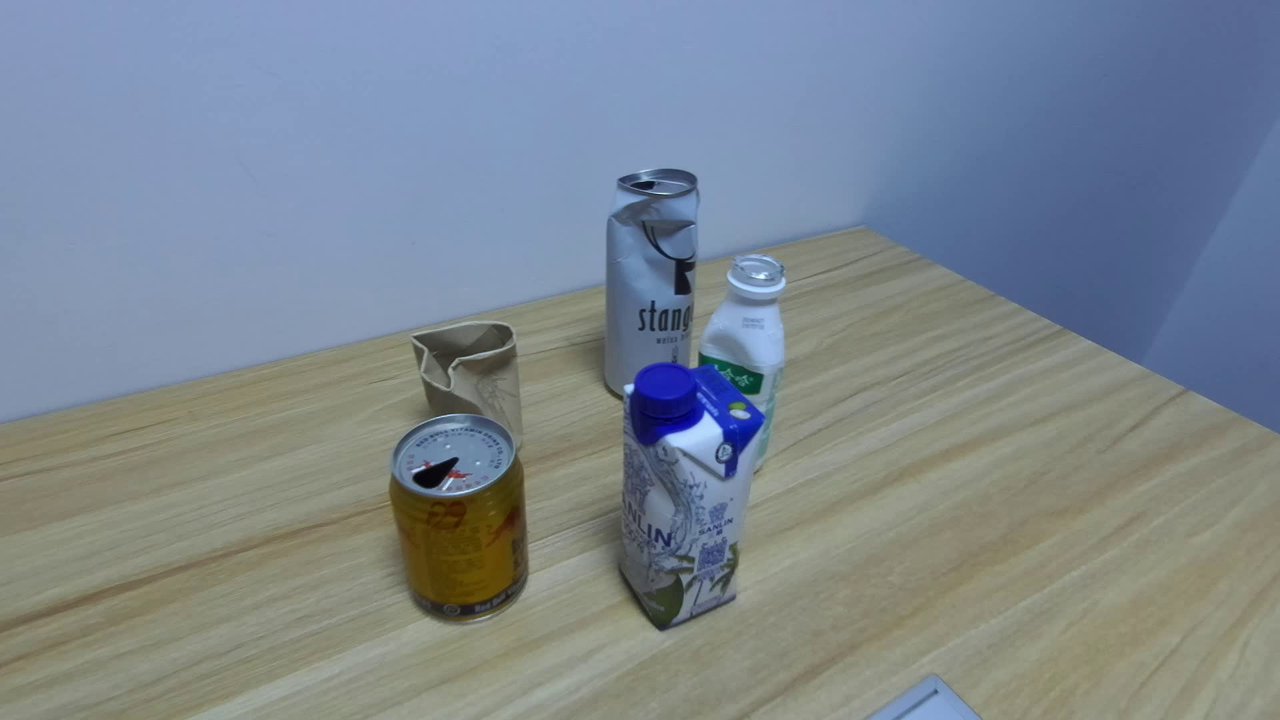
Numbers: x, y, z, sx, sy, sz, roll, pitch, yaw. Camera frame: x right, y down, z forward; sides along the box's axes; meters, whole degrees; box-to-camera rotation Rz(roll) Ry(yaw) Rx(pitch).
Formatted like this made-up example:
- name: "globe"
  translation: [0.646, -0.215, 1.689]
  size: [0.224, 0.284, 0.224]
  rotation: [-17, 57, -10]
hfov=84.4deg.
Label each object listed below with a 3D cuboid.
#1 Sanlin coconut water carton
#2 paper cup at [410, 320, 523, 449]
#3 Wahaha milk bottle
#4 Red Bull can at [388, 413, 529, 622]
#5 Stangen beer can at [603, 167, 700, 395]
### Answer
- name: "Sanlin coconut water carton"
  translation: [0.023, 0.065, 0.360]
  size: [0.061, 0.144, 0.060]
  rotation: [-14, 36, -25]
- name: "paper cup"
  translation: [-0.107, 0.026, 0.465]
  size: [0.066, 0.083, 0.058]
  rotation: [-13, 40, -18]
- name: "Wahaha milk bottle"
  translation: [0.065, 0.004, 0.445]
  size: [0.055, 0.149, 0.055]
  rotation: [3, 36, -2]
- name: "Red Bull can"
  translation: [-0.093, 0.083, 0.371]
  size: [0.067, 0.093, 0.067]
  rotation: [3, 33, -2]
- name: "Stangen beer can"
  translation: [0.007, -0.050, 0.508]
  size: [0.066, 0.166, 0.066]
  rotation: [3, 32, 1]
